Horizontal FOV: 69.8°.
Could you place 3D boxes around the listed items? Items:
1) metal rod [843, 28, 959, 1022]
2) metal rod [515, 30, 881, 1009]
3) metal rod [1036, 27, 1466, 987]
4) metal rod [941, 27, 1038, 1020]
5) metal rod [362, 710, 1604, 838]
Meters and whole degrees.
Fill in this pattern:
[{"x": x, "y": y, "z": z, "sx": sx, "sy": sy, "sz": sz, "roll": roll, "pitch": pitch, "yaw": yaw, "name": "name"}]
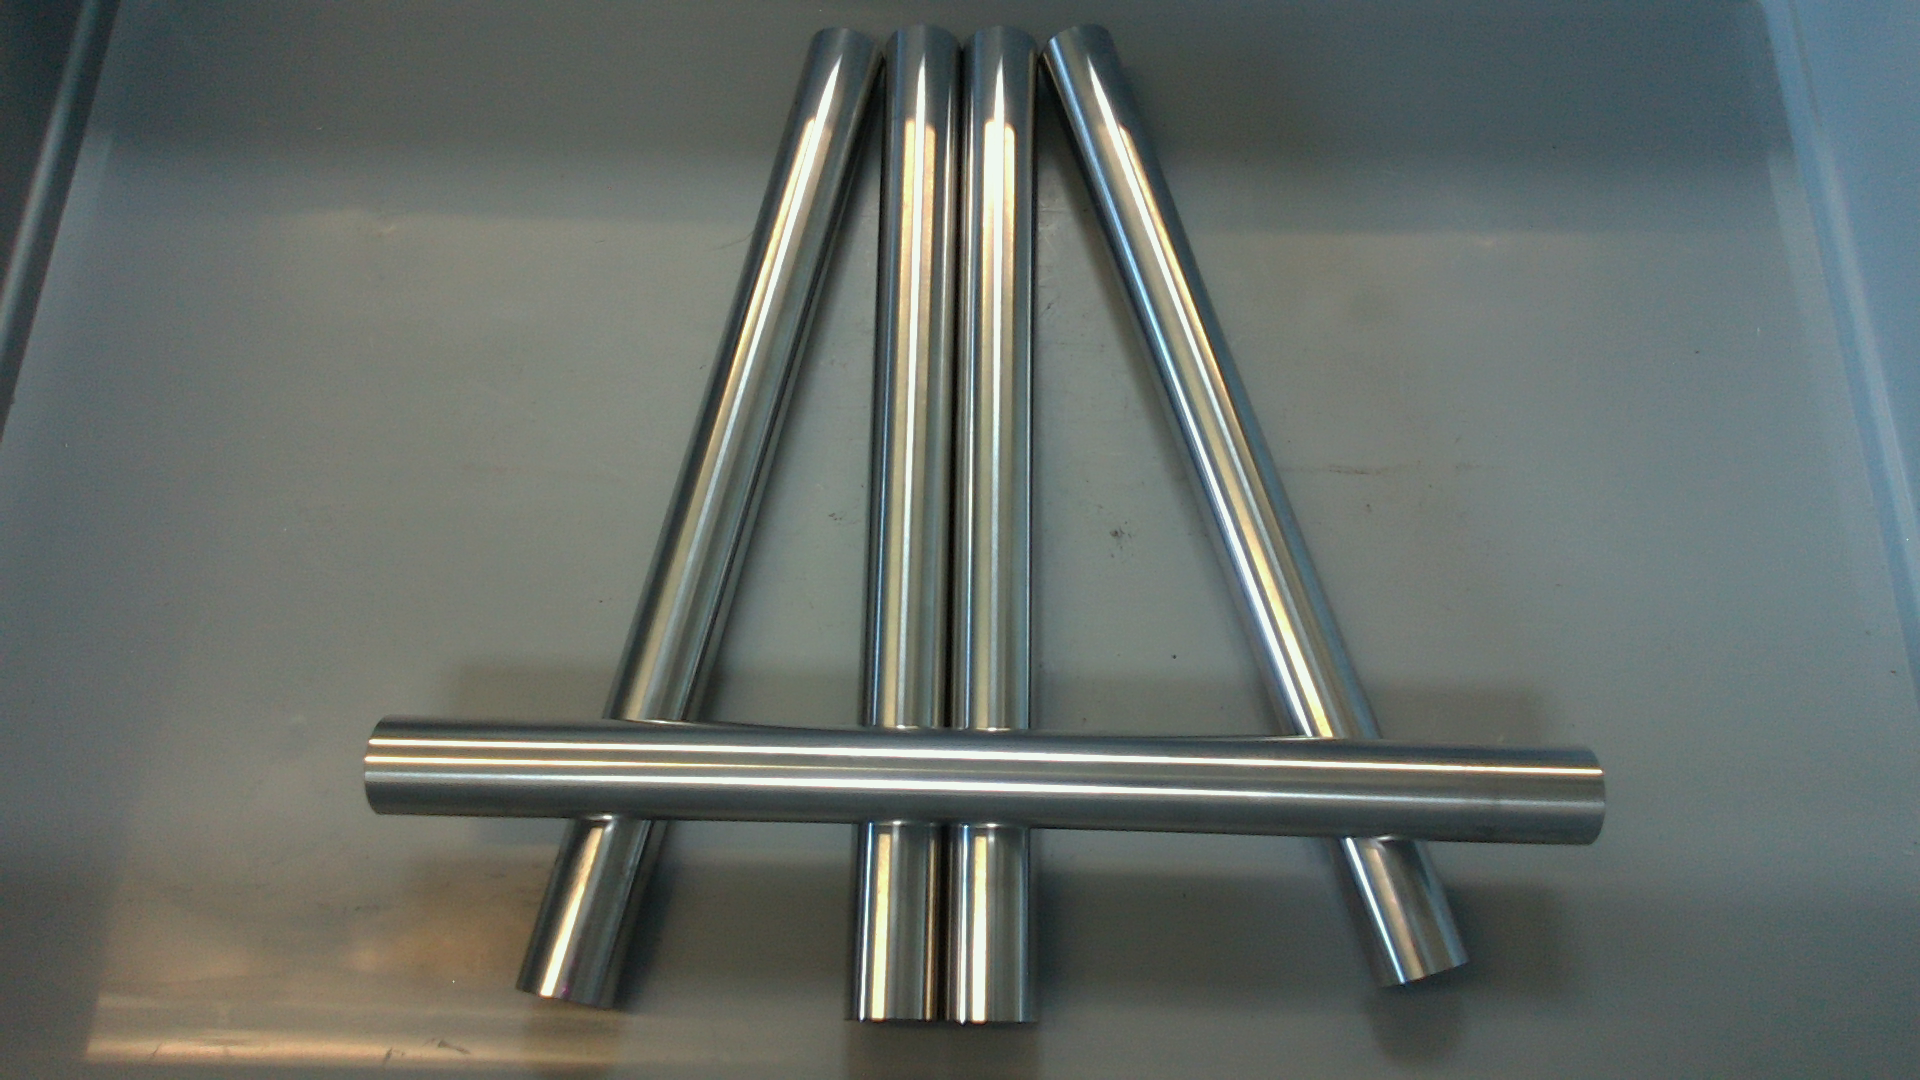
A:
[{"x": -0.015, "y": -0.019, "z": 0.401, "sx": 0.025, "sy": 0.025, "sz": 0.300, "roll": 1, "pitch": 70, "yaw": 0, "name": "metal rod"}, {"x": -0.069, "y": -0.021, "z": 0.401, "sx": 0.025, "sy": 0.025, "sz": 0.300, "roll": 11, "pitch": 70, "yaw": 4, "name": "metal rod"}, {"x": 0.077, "y": -0.024, "z": 0.403, "sx": 0.025, "sy": 0.025, "sz": 0.300, "roll": -15, "pitch": 71, "yaw": -5, "name": "metal rod"}, {"x": 0.010, "y": -0.019, "z": 0.401, "sx": 0.025, "sy": 0.025, "sz": 0.300, "roll": 1, "pitch": 70, "yaw": 0, "name": "metal rod"}, {"x": 0.005, "y": 0.059, "z": 0.344, "sx": 0.300, "sy": 0.025, "sz": 0.025, "roll": 1, "pitch": 70, "yaw": 0, "name": "metal rod"}]
